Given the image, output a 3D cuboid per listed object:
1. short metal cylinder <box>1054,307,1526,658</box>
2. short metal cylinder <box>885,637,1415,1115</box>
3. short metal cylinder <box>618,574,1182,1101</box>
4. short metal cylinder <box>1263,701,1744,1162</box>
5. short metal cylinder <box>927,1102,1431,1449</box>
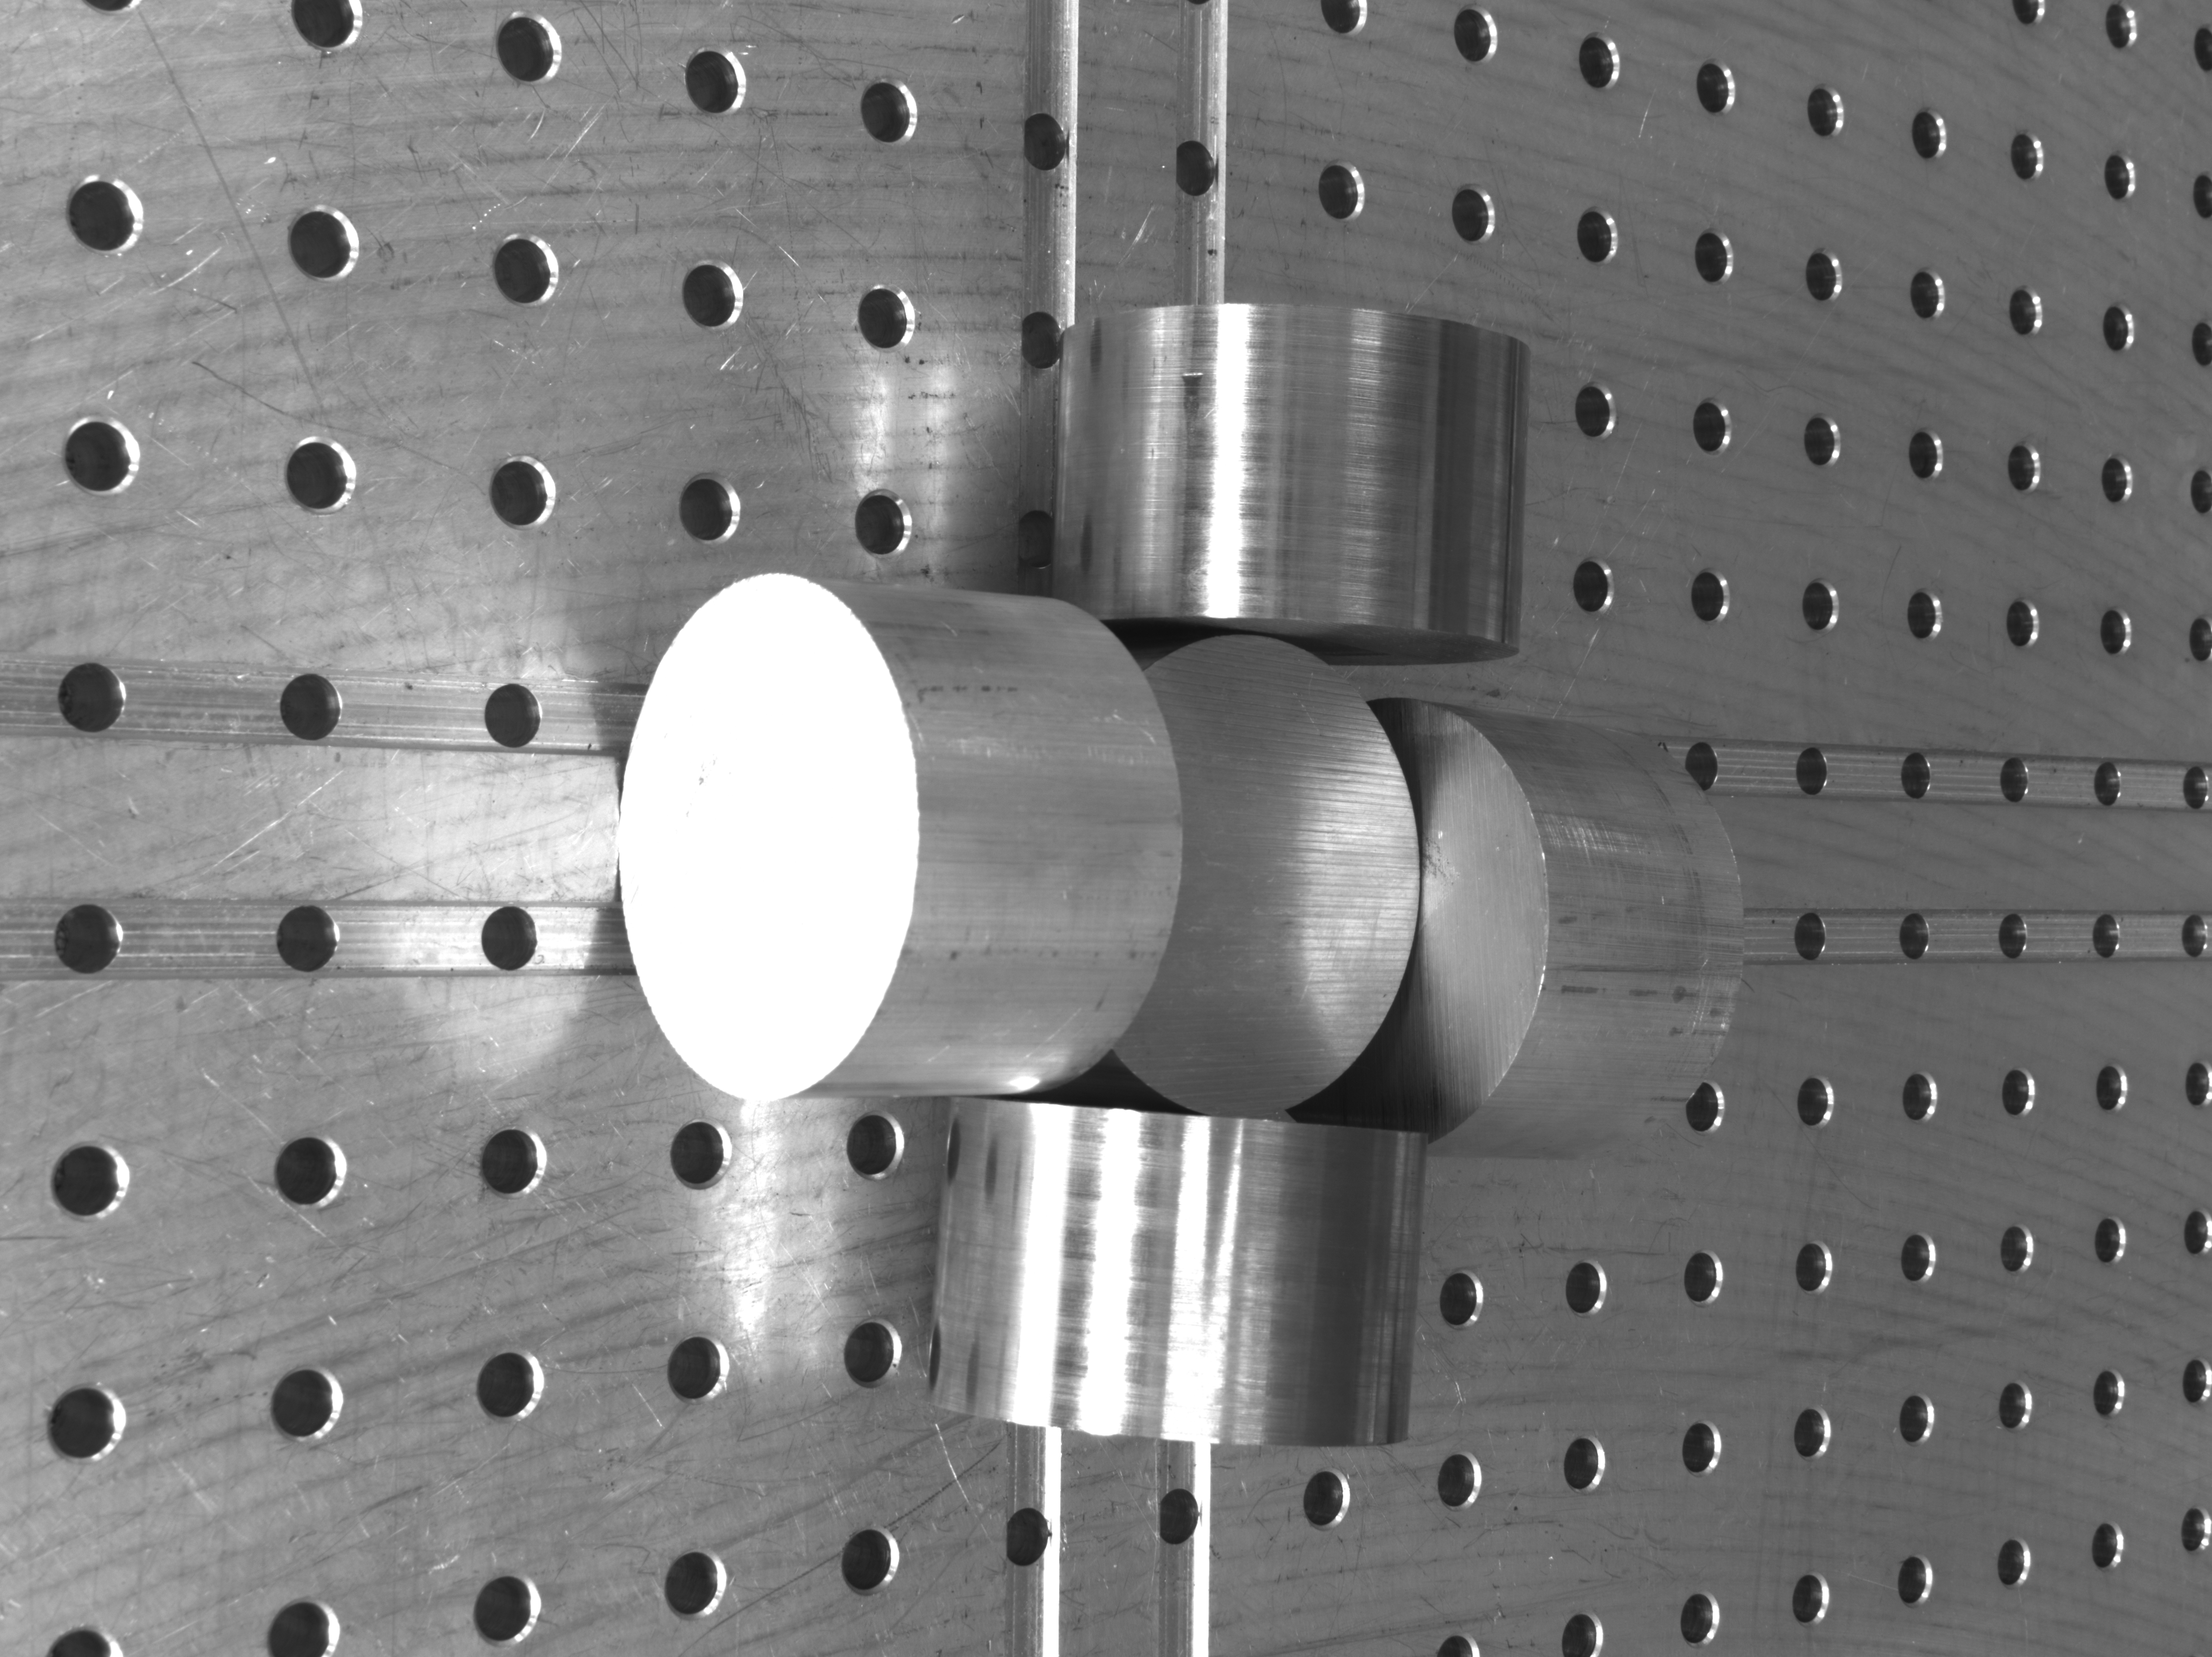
[{"bbox_3d":[0.031,-0.057,0.629,0.080,0.080,0.050,4,87,-40],"label":"short metal cylinder"},{"bbox_3d":[0.007,0.008,0.630,0.080,0.050,0.080,0,89,-41],"label":"short metal cylinder"},{"bbox_3d":[-0.033,0.002,0.576,0.050,0.080,0.080,2,88,-40],"label":"short metal cylinder"},{"bbox_3d":[0.067,0.019,0.660,0.050,0.080,0.080,5,87,-40],"label":"short metal cylinder"},{"bbox_3d":[0.012,0.073,0.613,0.080,0.080,0.050,8,84,-39],"label":"short metal cylinder"}]
